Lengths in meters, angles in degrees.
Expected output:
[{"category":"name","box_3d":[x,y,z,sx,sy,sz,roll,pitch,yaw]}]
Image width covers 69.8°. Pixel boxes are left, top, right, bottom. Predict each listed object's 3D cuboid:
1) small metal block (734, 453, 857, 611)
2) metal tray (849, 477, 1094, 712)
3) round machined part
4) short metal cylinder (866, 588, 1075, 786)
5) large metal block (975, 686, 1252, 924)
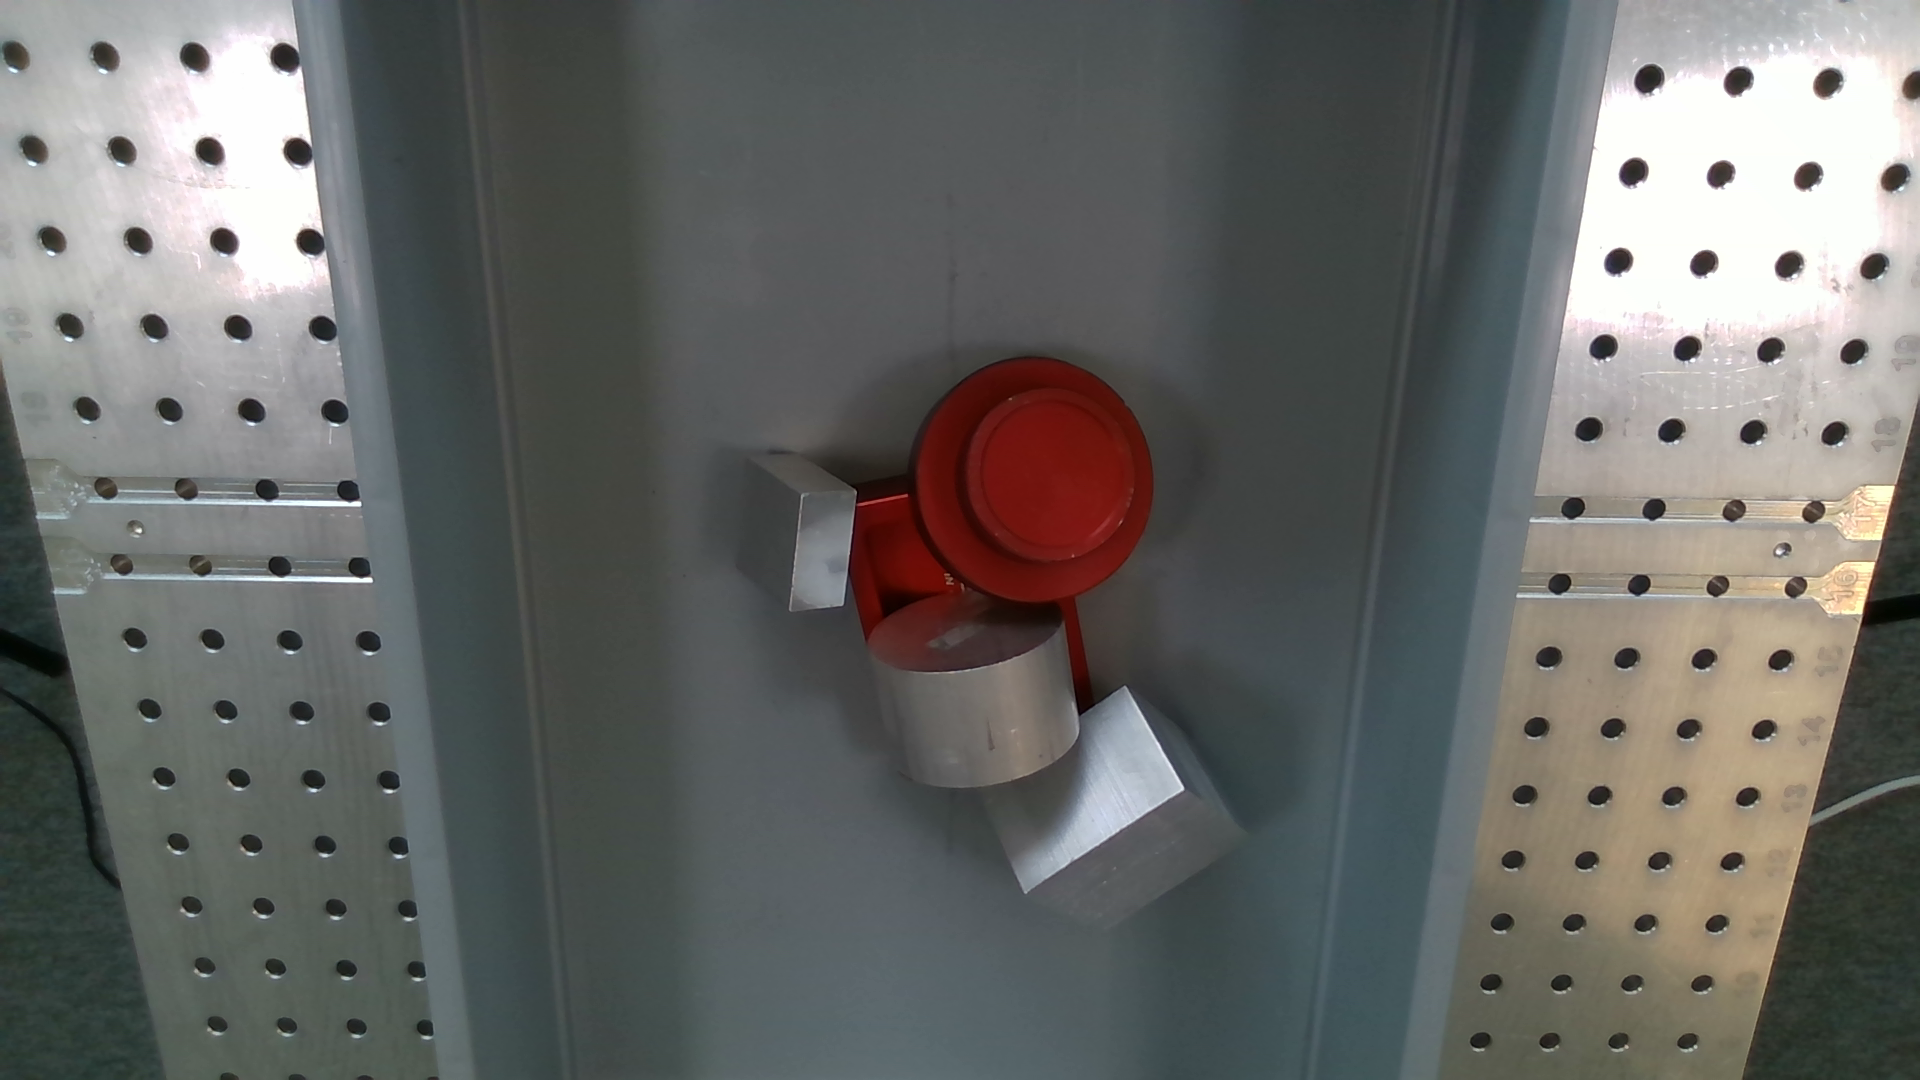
[{"category":"small metal block","box_3d":[-0.069,-0.005,0.566,0.025,0.050,0.050,-6,114,-35]},{"category":"metal tray","box_3d":[0.005,0.033,0.595,0.090,0.030,0.130,-11,110,4]},{"category":"round machined part","box_3d":[0.030,-0.025,0.545,0.098,0.042,0.098,1,86,-14]},{"category":"short metal cylinder","box_3d":[0.006,0.058,0.563,0.080,0.080,0.050,-8,111,3]},{"category":"large metal block","box_3d":[0.067,0.117,0.593,0.080,0.050,0.080,-36,143,13]}]
